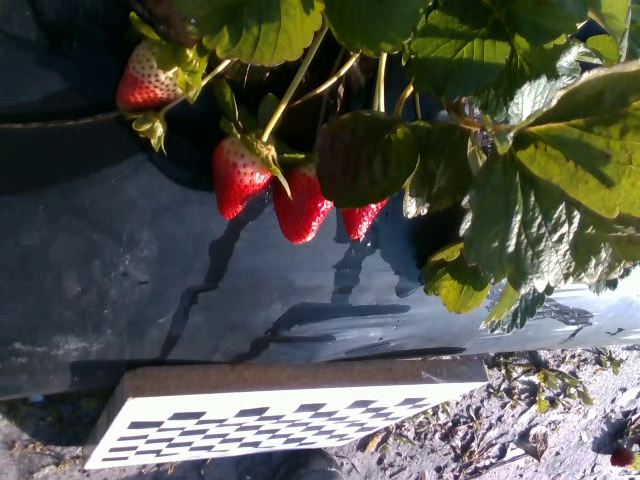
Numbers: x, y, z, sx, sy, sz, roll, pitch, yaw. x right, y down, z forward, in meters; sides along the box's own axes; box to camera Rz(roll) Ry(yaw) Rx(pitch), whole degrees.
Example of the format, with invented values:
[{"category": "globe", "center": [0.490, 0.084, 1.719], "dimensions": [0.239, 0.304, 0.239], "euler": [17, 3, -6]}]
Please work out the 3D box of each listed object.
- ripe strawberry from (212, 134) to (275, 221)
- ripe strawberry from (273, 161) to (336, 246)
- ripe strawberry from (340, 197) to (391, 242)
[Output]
[{"category": "ripe strawberry", "center": [-0.034, -0.024, 0.259], "dimensions": [0.031, 0.023, 0.046], "euler": [6, -46, -23]}, {"category": "ripe strawberry", "center": [-0.007, -0.016, 0.266], "dimensions": [0.030, 0.039, 0.036], "euler": [13, -9, -32]}, {"category": "ripe strawberry", "center": [0.019, -0.016, 0.279], "dimensions": [0.035, 0.041, 0.033], "euler": [4, 8, -19]}]
